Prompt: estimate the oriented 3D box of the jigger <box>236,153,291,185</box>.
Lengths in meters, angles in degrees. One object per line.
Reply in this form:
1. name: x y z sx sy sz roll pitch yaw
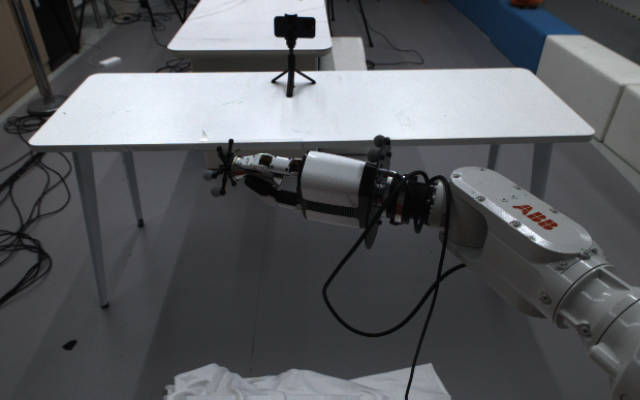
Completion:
1. jigger: -0.088 -0.049 0.727 0.071 0.043 0.043 7 35 15
